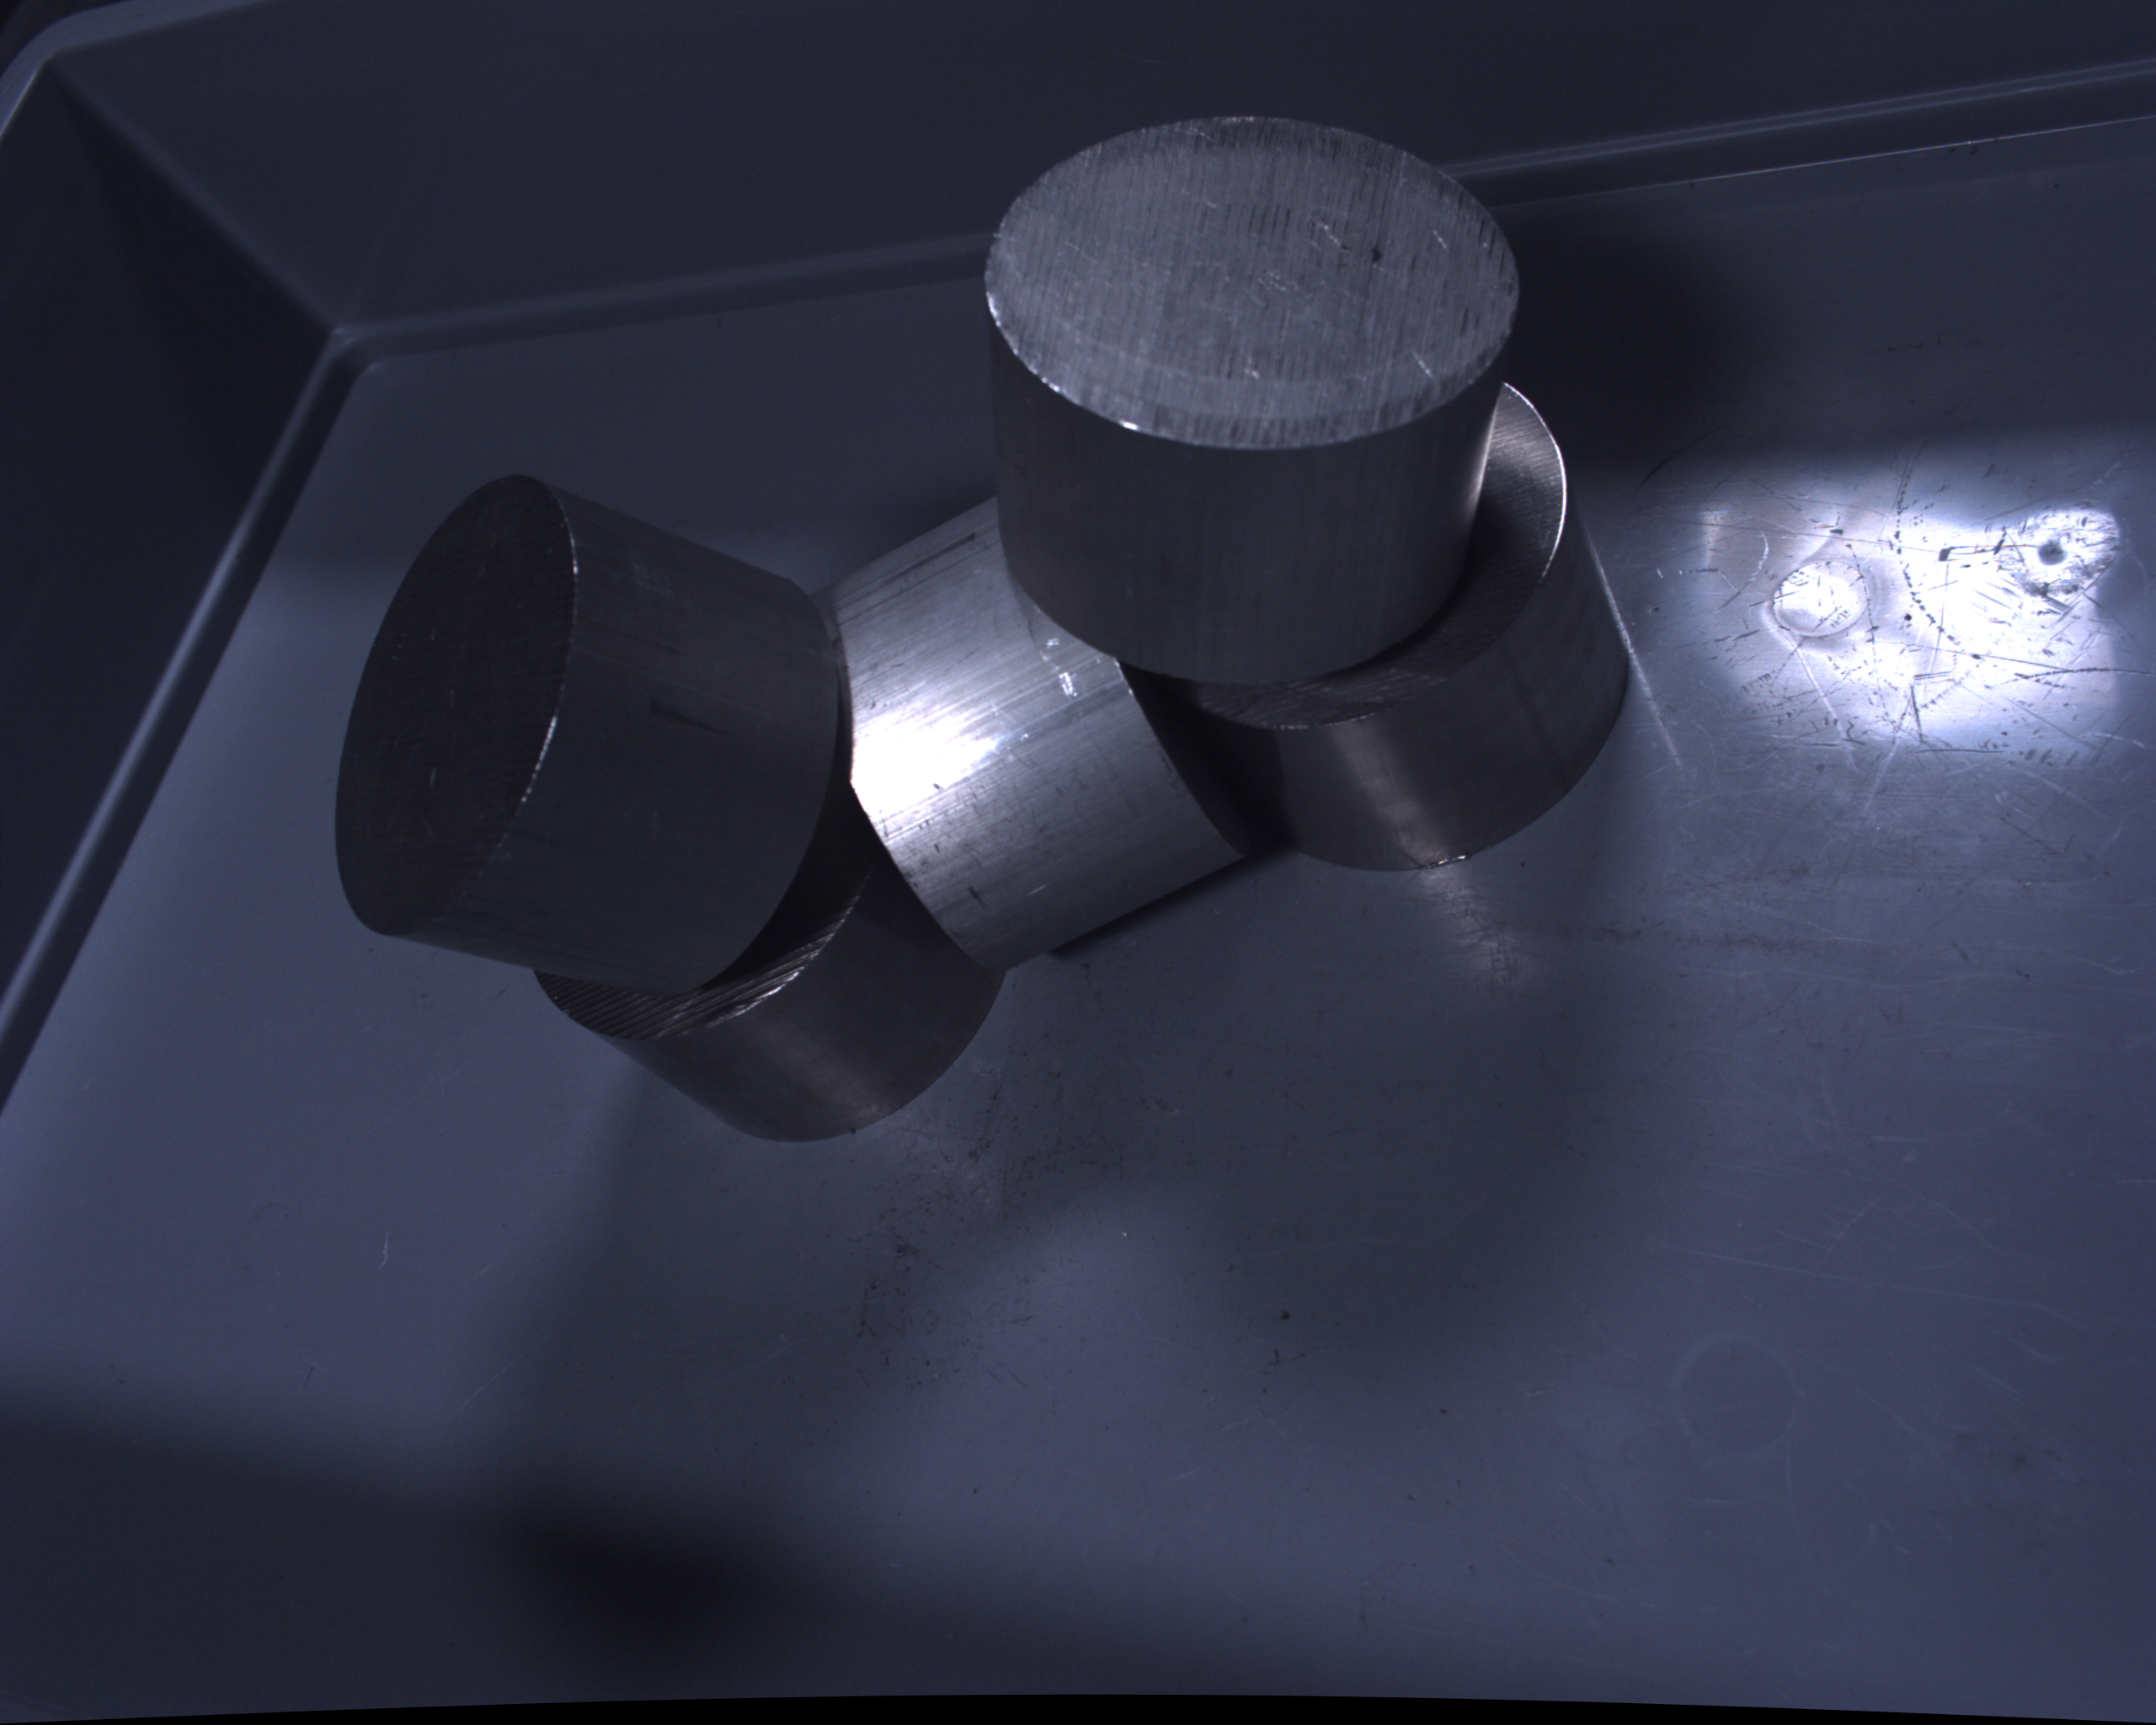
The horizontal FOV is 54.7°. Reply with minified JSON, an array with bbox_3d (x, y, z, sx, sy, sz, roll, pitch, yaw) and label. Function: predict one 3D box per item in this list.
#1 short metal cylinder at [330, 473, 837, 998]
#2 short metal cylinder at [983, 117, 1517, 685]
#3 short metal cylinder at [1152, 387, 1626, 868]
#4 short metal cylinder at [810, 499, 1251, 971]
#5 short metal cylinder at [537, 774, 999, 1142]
[{"bbox_3d":[-0.087,-0.021,0.361,0.080,0.050,0.080,-20,61,42],"label":"short metal cylinder"},{"bbox_3d":[0.026,-0.075,0.335,0.081,0.050,0.080,0,53,0],"label":"short metal cylinder"},{"bbox_3d":[0.055,-0.046,0.386,0.080,0.050,0.080,-13,56,20],"label":"short metal cylinder"},{"bbox_3d":[-0.009,-0.027,0.388,0.050,0.080,0.080,-26,53,12],"label":"short metal cylinder"},{"bbox_3d":[-0.061,0.009,0.412,0.080,0.050,0.080,-13,56,20],"label":"short metal cylinder"}]
